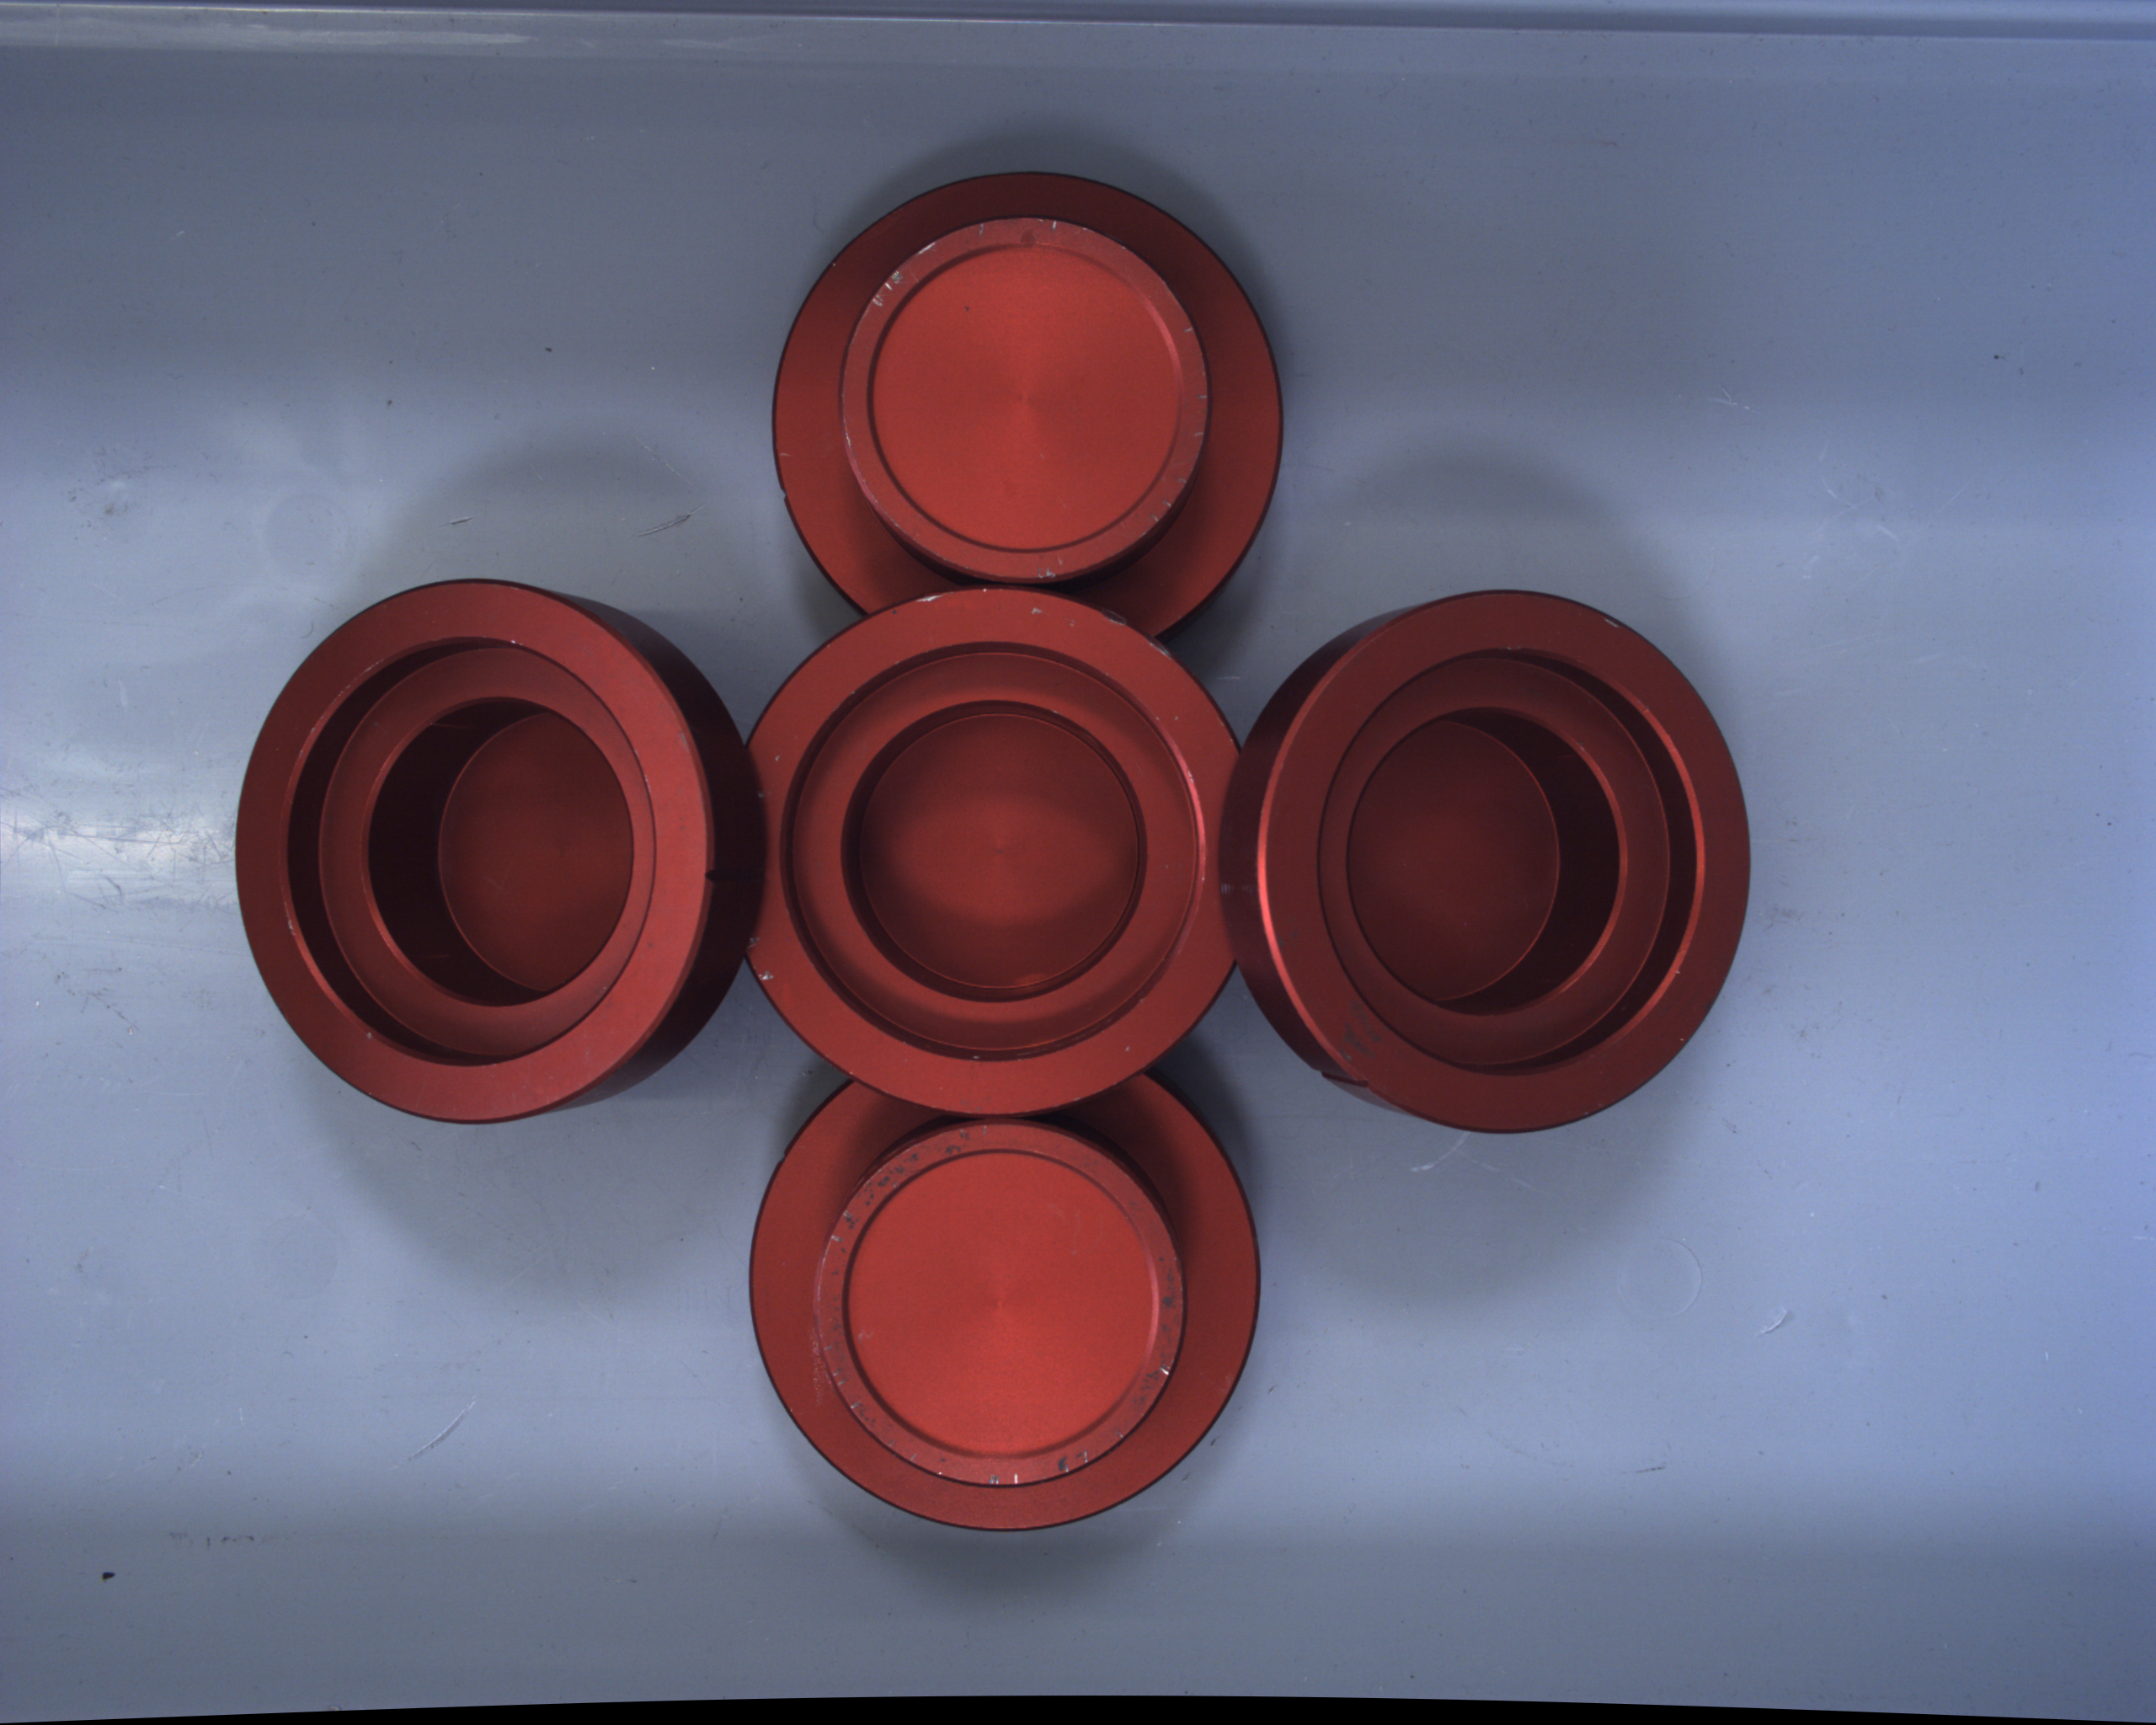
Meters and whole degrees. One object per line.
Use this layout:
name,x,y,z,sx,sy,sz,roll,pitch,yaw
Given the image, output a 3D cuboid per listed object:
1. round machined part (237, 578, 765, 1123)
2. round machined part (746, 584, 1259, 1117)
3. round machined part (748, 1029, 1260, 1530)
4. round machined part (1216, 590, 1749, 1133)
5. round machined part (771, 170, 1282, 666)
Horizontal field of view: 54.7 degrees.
round machined part,-0.103,-0.002,0.392,0.098,0.042,0.097,0,90,17
round machined part,-0.016,-0.002,0.400,0.099,0.042,0.097,0,90,0
round machined part,-0.014,0.080,0.401,0.099,0.042,0.097,0,90,0
round machined part,0.072,0.000,0.393,0.099,0.042,0.097,0,90,-17
round machined part,-0.010,-0.085,0.401,0.099,0.042,0.097,0,90,0
